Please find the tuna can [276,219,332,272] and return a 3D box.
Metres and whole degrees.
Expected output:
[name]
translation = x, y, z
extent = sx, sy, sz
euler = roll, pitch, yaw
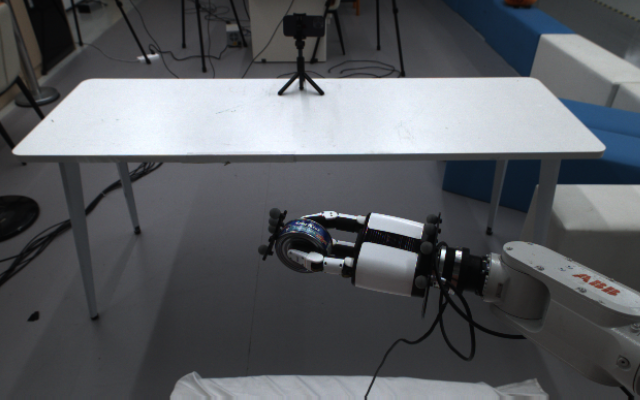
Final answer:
[tuna can]
translation = -0.023, 0.075, 0.744
extent = 0.085, 0.085, 0.034
euler = 9, 34, 11
